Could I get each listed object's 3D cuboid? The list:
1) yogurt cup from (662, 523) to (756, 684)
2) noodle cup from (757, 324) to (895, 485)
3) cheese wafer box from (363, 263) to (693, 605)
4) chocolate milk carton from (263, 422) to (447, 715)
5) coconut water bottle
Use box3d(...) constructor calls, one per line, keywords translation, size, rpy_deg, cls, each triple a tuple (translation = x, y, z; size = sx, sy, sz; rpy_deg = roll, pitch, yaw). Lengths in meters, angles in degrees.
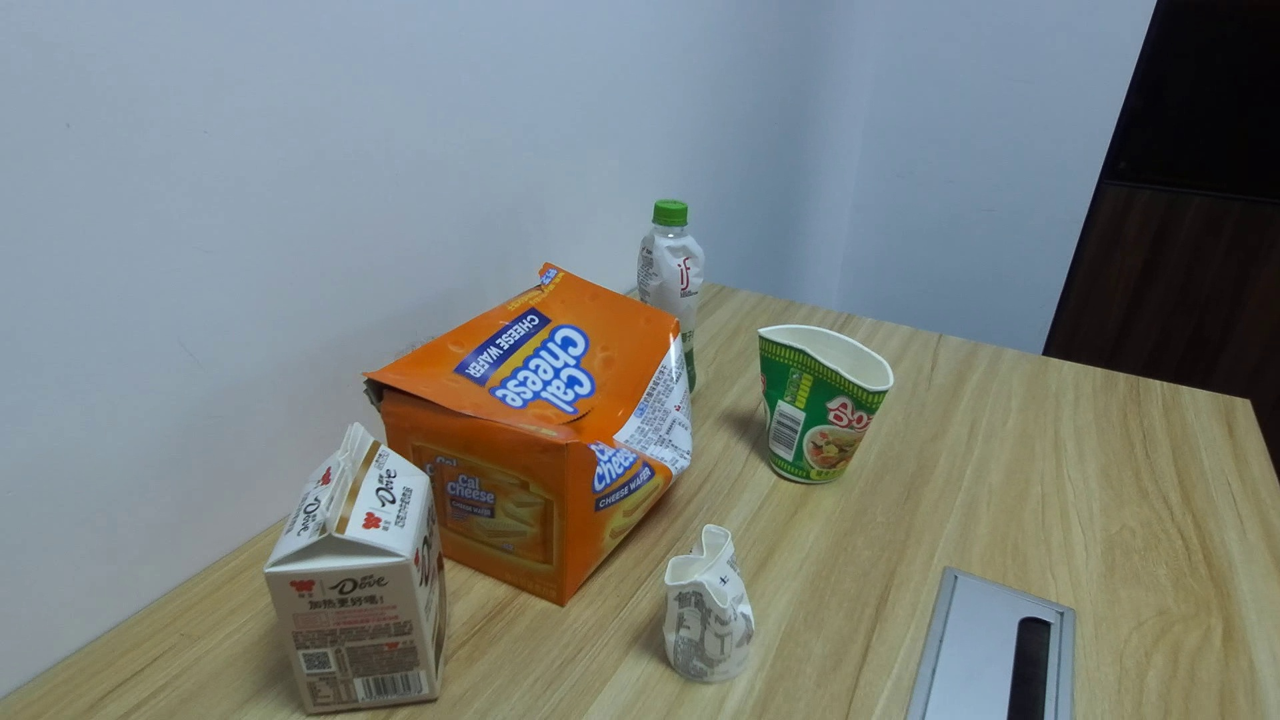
box3d(translation=(0.040, 0.146, 0.420), size=(0.055, 0.072, 0.055), rpy_deg=(17, 34, 31), cls="yogurt cup")
box3d(translation=(0.145, 0.039, 0.578), size=(0.070, 0.111, 0.114), rpy_deg=(-9, 31, -15), cls="noodle cup")
box3d(translation=(-0.053, 0.041, 0.539), size=(0.190, 0.145, 0.219), rpy_deg=(13, 31, 23), cls="cheese wafer box")
box3d(translation=(-0.152, 0.113, 0.391), size=(0.074, 0.148, 0.075), rpy_deg=(-4, 27, -7), cls="chocolate milk carton")
box3d(translation=(0.027, -0.056, 0.672), size=(0.067, 0.187, 0.067), rpy_deg=(1, 26, 0), cls="coconut water bottle")
